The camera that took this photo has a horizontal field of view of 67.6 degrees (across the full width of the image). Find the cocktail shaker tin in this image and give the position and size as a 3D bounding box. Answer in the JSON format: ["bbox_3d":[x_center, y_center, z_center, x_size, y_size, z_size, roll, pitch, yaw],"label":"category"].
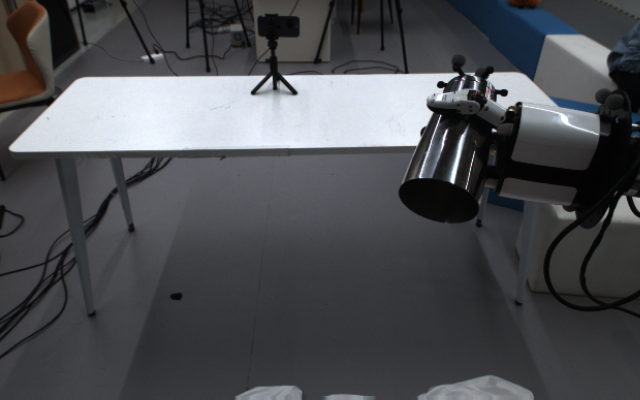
[{"bbox_3d":[0.164,-0.068,0.583,0.093,0.093,0.170,15,62,18],"label":"cocktail shaker tin"}]
